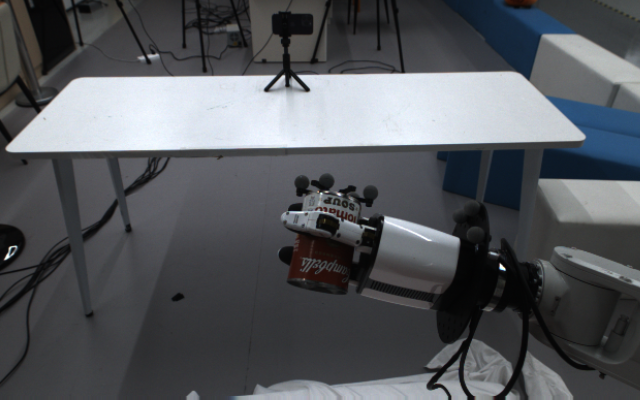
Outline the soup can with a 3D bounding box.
[{"bbox_3d":[0.008,0.048,0.534,0.067,0.067,0.101,8,72,9],"label":"soup can"}]
